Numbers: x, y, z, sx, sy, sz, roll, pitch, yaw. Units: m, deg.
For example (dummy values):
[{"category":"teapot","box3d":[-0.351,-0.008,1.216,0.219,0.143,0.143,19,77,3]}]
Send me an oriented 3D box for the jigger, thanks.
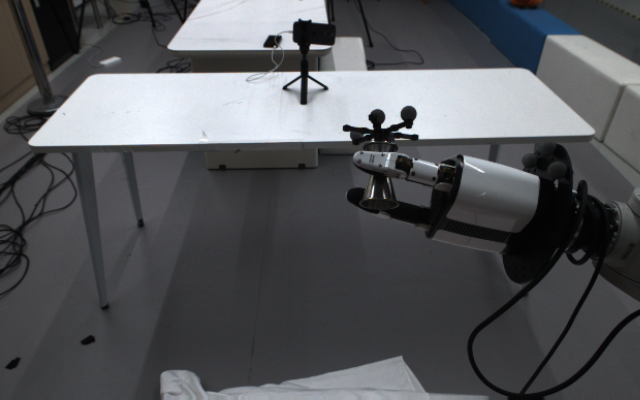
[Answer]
[{"category":"jigger","box3d":[0.066,-0.028,0.543,0.043,0.043,0.071,3,75,1]}]
